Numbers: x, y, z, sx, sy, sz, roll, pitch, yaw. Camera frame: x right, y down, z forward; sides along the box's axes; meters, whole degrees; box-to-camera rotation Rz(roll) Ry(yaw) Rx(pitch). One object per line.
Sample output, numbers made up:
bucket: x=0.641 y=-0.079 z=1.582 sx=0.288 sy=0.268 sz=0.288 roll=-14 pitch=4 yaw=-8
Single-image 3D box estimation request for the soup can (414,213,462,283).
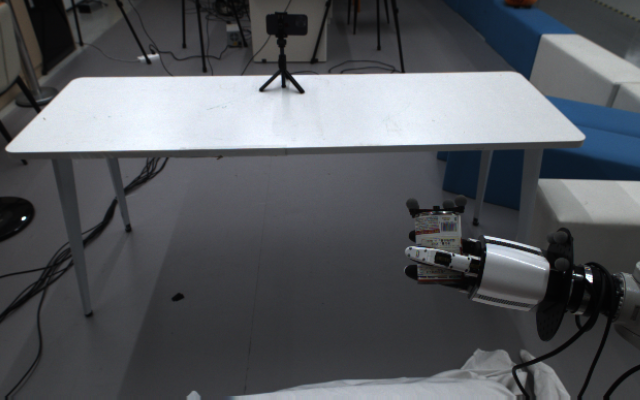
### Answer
soup can: x=0.175 y=0.071 z=0.706 sx=0.067 sy=0.101 sz=0.067 roll=-1 pitch=-9 yaw=0
